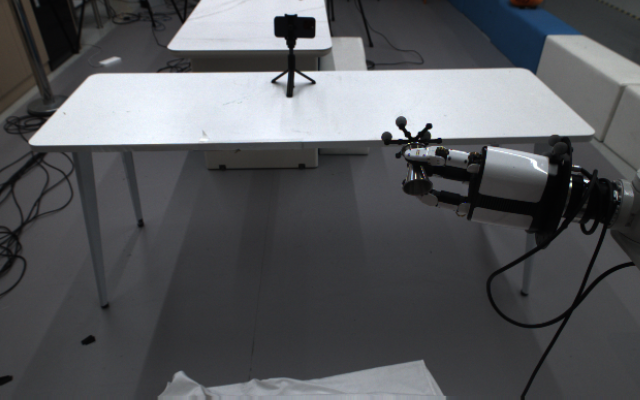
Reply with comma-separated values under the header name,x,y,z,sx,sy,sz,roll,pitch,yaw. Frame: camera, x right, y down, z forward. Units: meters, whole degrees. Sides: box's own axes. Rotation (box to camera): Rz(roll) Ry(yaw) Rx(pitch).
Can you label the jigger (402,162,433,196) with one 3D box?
name,x,y,z,sx,sy,sz,roll,pitch,yaw
jigger,0.142,-0.051,0.716,0.043,0.043,0.071,2,59,-1
